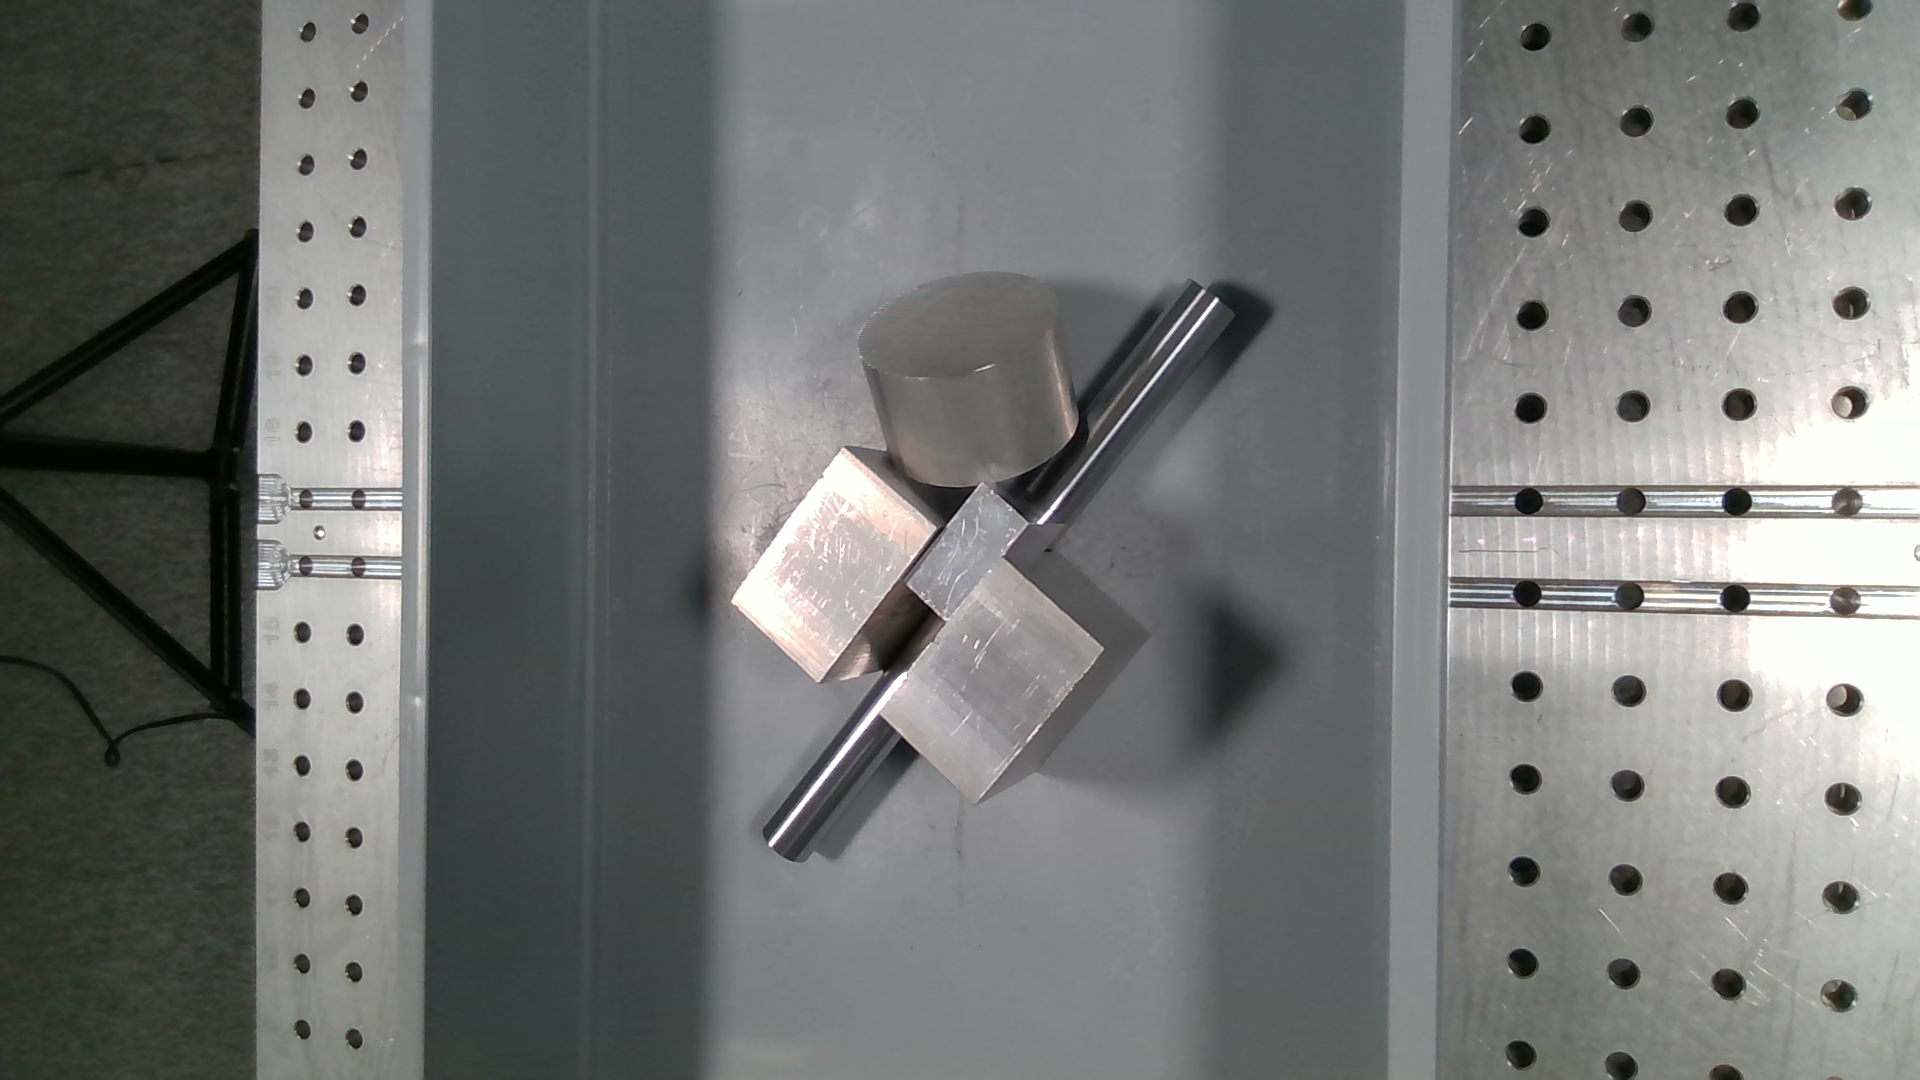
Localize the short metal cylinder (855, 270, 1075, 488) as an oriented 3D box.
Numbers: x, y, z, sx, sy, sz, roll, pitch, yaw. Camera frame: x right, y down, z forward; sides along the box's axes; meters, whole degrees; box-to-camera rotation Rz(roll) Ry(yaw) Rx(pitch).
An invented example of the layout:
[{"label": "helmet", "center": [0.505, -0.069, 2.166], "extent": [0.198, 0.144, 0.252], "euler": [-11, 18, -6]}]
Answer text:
[{"label": "short metal cylinder", "center": [0.003, -0.065, 0.547], "extent": [0.080, 0.080, 0.050], "euler": [1, 130, 20]}]

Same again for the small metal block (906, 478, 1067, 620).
[{"label": "small metal block", "center": [0.012, 0.004, 0.542], "extent": [0.025, 0.050, 0.050], "euler": [43, 104, 15]}]

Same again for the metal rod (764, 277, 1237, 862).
[{"label": "metal rod", "center": [0.012, 0.019, 0.581], "extent": [0.025, 0.025, 0.300], "euler": [41, 104, 15]}]

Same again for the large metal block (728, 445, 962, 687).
[{"label": "large metal block", "center": [-0.037, 0.010, 0.570], "extent": [0.050, 0.080, 0.080], "euler": [41, 103, 15]}]

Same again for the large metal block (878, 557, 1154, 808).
[{"label": "large metal block", "center": [0.025, 0.053, 0.548], "extent": [0.050, 0.080, 0.080], "euler": [42, 104, 15]}]
